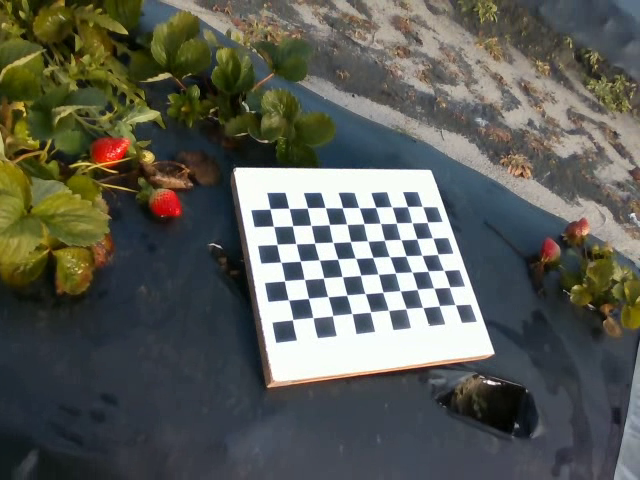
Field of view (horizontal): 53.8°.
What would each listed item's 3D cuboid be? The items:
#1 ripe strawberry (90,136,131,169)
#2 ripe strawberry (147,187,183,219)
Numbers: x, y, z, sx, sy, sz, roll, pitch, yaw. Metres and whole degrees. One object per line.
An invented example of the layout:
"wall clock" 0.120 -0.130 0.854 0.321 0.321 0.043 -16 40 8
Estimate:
"ripe strawberry" -0.235 -0.104 0.697 0.048 0.040 0.031 -31 -19 9
"ripe strawberry" -0.172 -0.040 0.689 0.035 0.043 0.030 -43 -11 -36
